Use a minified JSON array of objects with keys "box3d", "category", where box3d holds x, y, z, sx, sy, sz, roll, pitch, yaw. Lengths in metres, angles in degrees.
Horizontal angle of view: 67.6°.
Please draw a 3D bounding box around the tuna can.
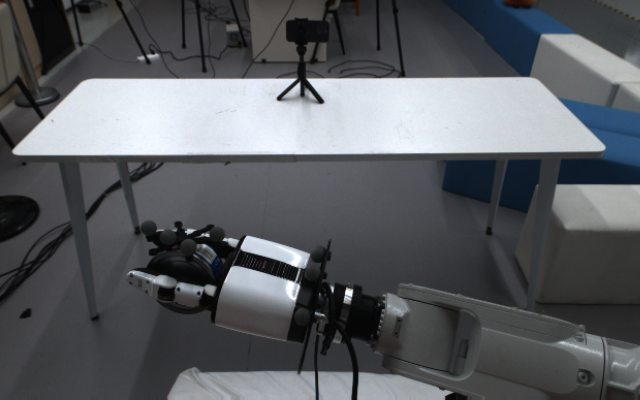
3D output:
[{"box3d":[-0.154,0.090,0.566,0.085,0.085,0.034,6,22,5],"category":"tuna can"}]
